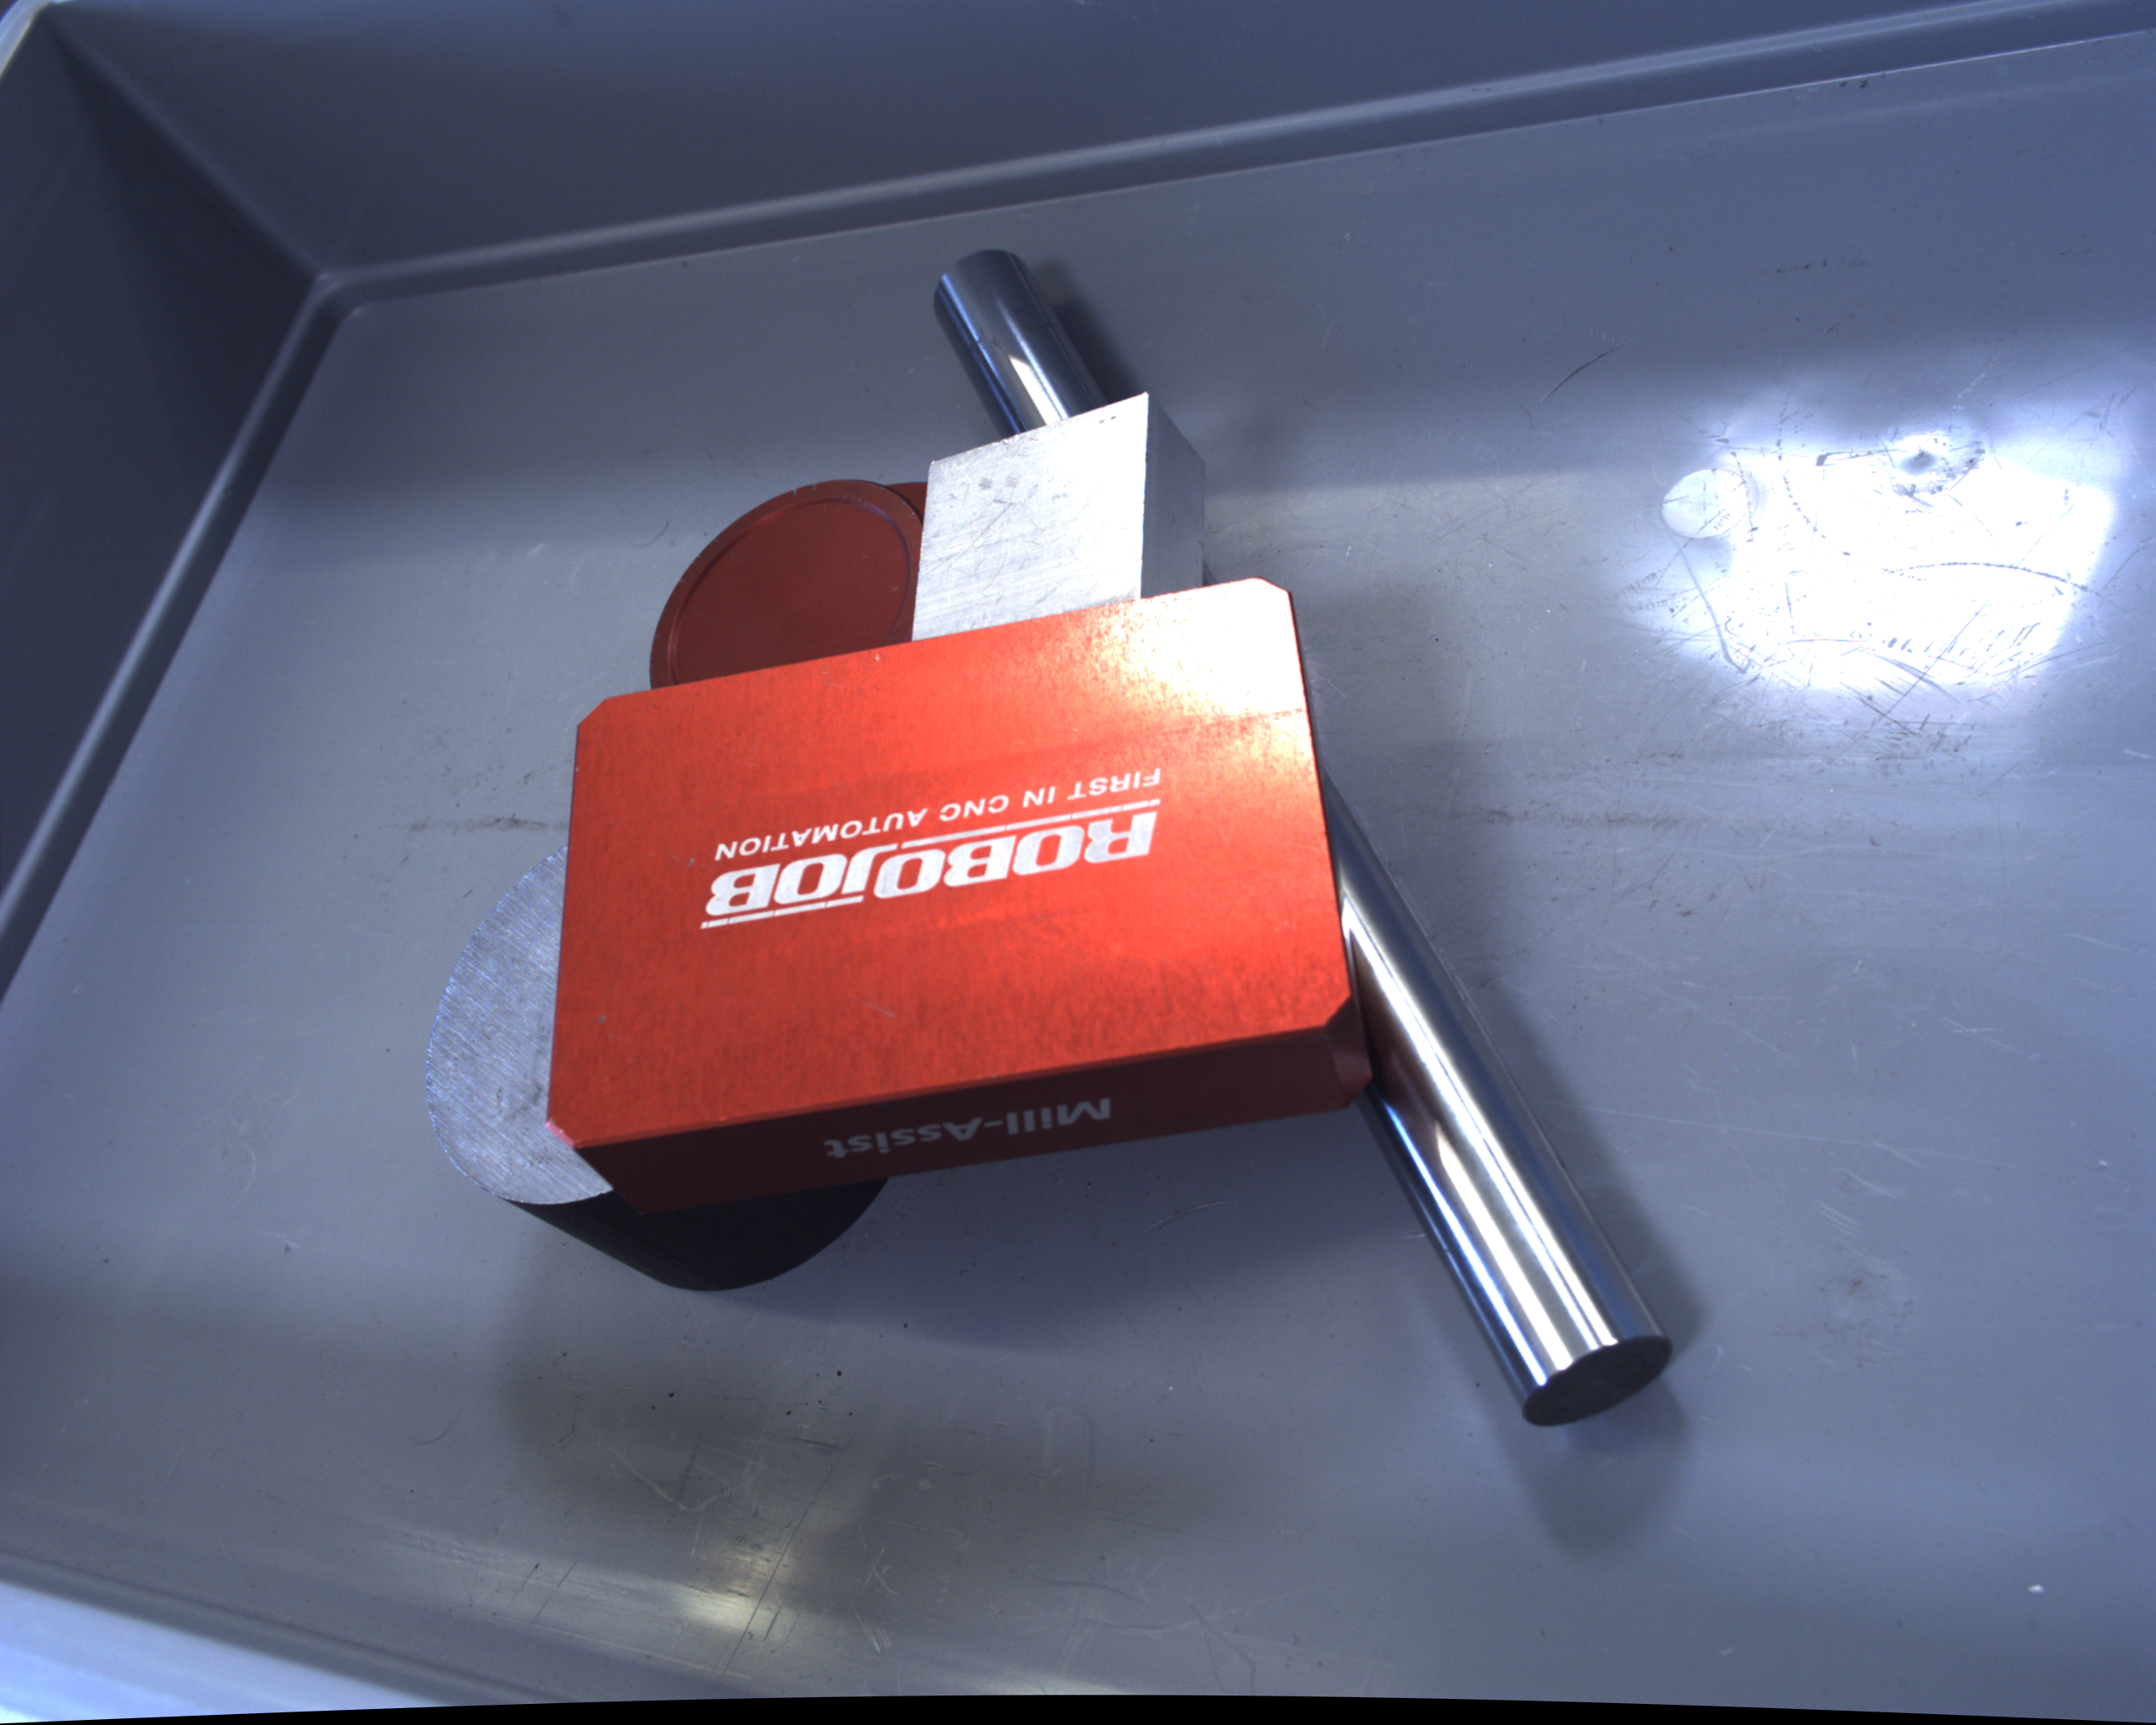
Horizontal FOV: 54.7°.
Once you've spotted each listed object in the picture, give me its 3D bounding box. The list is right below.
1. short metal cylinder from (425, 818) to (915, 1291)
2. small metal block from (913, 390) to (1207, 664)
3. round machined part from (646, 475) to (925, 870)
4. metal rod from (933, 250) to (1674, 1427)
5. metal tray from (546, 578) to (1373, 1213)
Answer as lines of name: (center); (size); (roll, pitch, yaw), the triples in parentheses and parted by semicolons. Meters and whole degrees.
short metal cylinder: (-0.077, 0.037, 0.405); (0.080, 0.050, 0.080); (-13, 56, 21)
small metal block: (-0.003, -0.059, 0.411); (0.050, 0.025, 0.050); (-12, 59, 27)
round machined part: (-0.052, -0.043, 0.445); (0.098, 0.042, 0.098); (-14, 56, 22)
metal rod: (0.028, -0.028, 0.406); (0.025, 0.025, 0.300); (-31, 52, 8)
metal tray: (-0.021, 0.005, 0.359); (0.131, 0.030, 0.090); (-9, 57, 8)
